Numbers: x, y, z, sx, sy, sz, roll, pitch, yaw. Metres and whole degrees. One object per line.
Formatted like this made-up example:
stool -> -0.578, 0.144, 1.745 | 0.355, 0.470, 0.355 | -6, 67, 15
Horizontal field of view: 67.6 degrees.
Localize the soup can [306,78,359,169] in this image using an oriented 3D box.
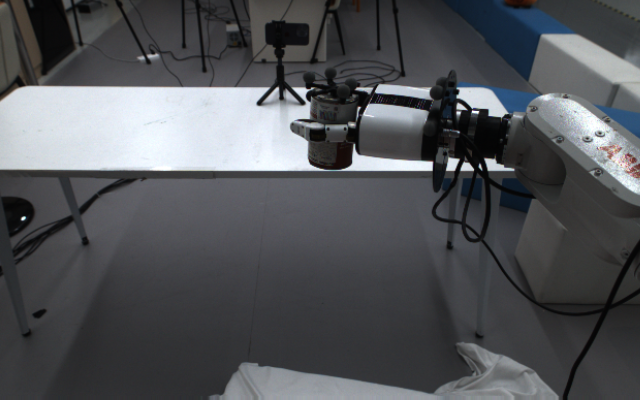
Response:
soup can -> 0.018, -0.102, 0.686 | 0.067, 0.101, 0.067 | 4, 30, -2
